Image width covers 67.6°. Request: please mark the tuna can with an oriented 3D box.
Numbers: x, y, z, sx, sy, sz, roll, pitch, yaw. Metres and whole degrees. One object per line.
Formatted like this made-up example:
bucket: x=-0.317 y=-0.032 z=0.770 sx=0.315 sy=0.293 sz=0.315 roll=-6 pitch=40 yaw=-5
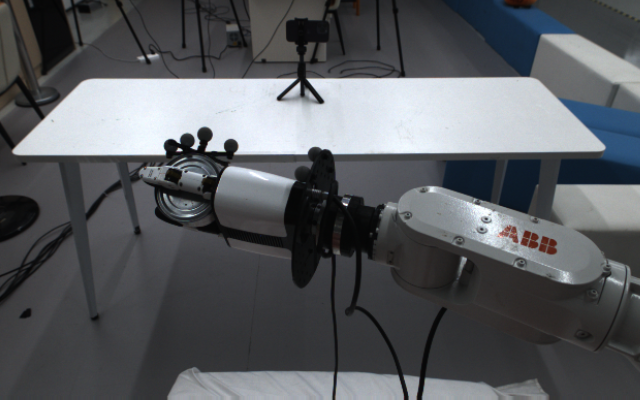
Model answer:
tuna can: x=-0.152 y=-0.010 z=0.586 sx=0.085 sy=0.034 sz=0.085 roll=-3 pitch=73 yaw=9
